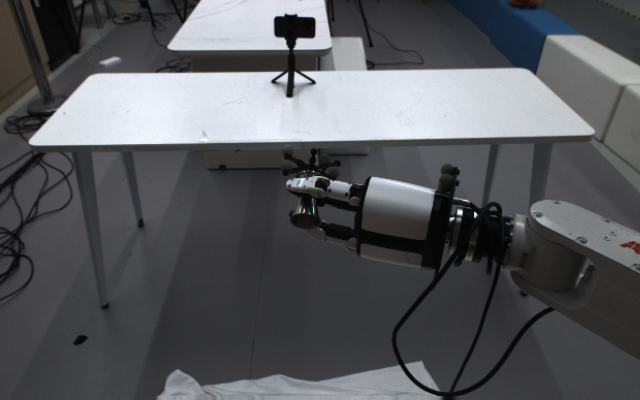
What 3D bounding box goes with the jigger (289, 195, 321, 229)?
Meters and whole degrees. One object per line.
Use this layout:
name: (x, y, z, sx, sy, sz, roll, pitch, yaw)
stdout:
jigger: (-0.018, -0.004, 0.652, 0.043, 0.043, 0.071, 4, 60, 2)
